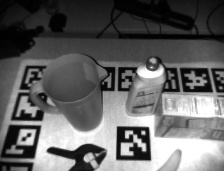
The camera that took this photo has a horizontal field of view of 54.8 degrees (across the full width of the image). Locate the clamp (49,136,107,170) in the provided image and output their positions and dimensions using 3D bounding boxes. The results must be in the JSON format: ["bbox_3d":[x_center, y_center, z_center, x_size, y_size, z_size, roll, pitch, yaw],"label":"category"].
[{"bbox_3d":[-0.095,0.194,0.632,0.166,0.037,0.121,-13,59,-9],"label":"clamp"}]

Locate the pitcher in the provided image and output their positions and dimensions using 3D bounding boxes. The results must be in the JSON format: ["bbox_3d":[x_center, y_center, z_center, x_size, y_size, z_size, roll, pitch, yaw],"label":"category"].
[{"bbox_3d":[-0.107,0.017,0.592,0.189,0.243,0.132,-15,59,-10],"label":"pitcher"}]

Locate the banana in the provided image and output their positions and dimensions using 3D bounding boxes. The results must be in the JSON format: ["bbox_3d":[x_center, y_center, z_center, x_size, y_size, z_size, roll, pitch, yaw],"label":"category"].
[{"bbox_3d":[0.124,0.221,0.623,0.198,0.039,0.073,-29,63,-15],"label":"banana"}]

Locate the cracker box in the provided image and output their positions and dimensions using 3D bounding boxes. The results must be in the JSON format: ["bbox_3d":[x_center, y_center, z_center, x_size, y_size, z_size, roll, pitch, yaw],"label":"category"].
[{"bbox_3d":[0.236,0.074,0.608,0.213,0.165,0.072,1,57,4],"label":"cracker box"}]

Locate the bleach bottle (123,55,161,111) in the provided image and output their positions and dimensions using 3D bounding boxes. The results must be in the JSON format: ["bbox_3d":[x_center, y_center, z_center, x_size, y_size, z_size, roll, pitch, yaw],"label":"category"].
[{"bbox_3d":[0.083,-0.006,0.625,0.102,0.252,0.067,0,59,3],"label":"bleach bottle"}]
